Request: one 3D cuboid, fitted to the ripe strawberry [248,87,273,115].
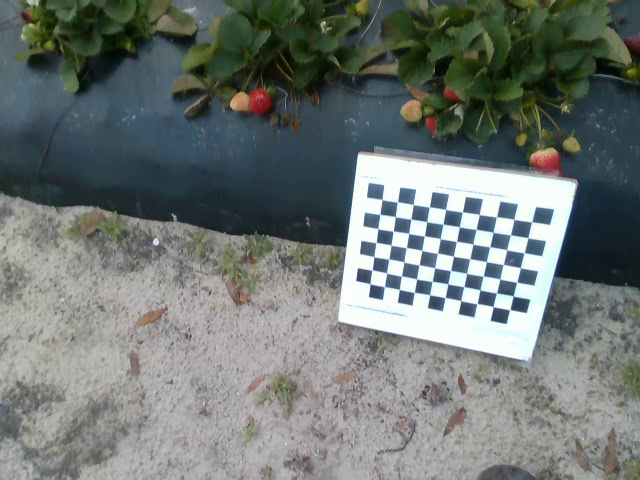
[{"bbox_3d":[-0.082,-0.203,1.103,0.042,0.034,0.033,-45,-7,-39],"label":"ripe strawberry"}]
